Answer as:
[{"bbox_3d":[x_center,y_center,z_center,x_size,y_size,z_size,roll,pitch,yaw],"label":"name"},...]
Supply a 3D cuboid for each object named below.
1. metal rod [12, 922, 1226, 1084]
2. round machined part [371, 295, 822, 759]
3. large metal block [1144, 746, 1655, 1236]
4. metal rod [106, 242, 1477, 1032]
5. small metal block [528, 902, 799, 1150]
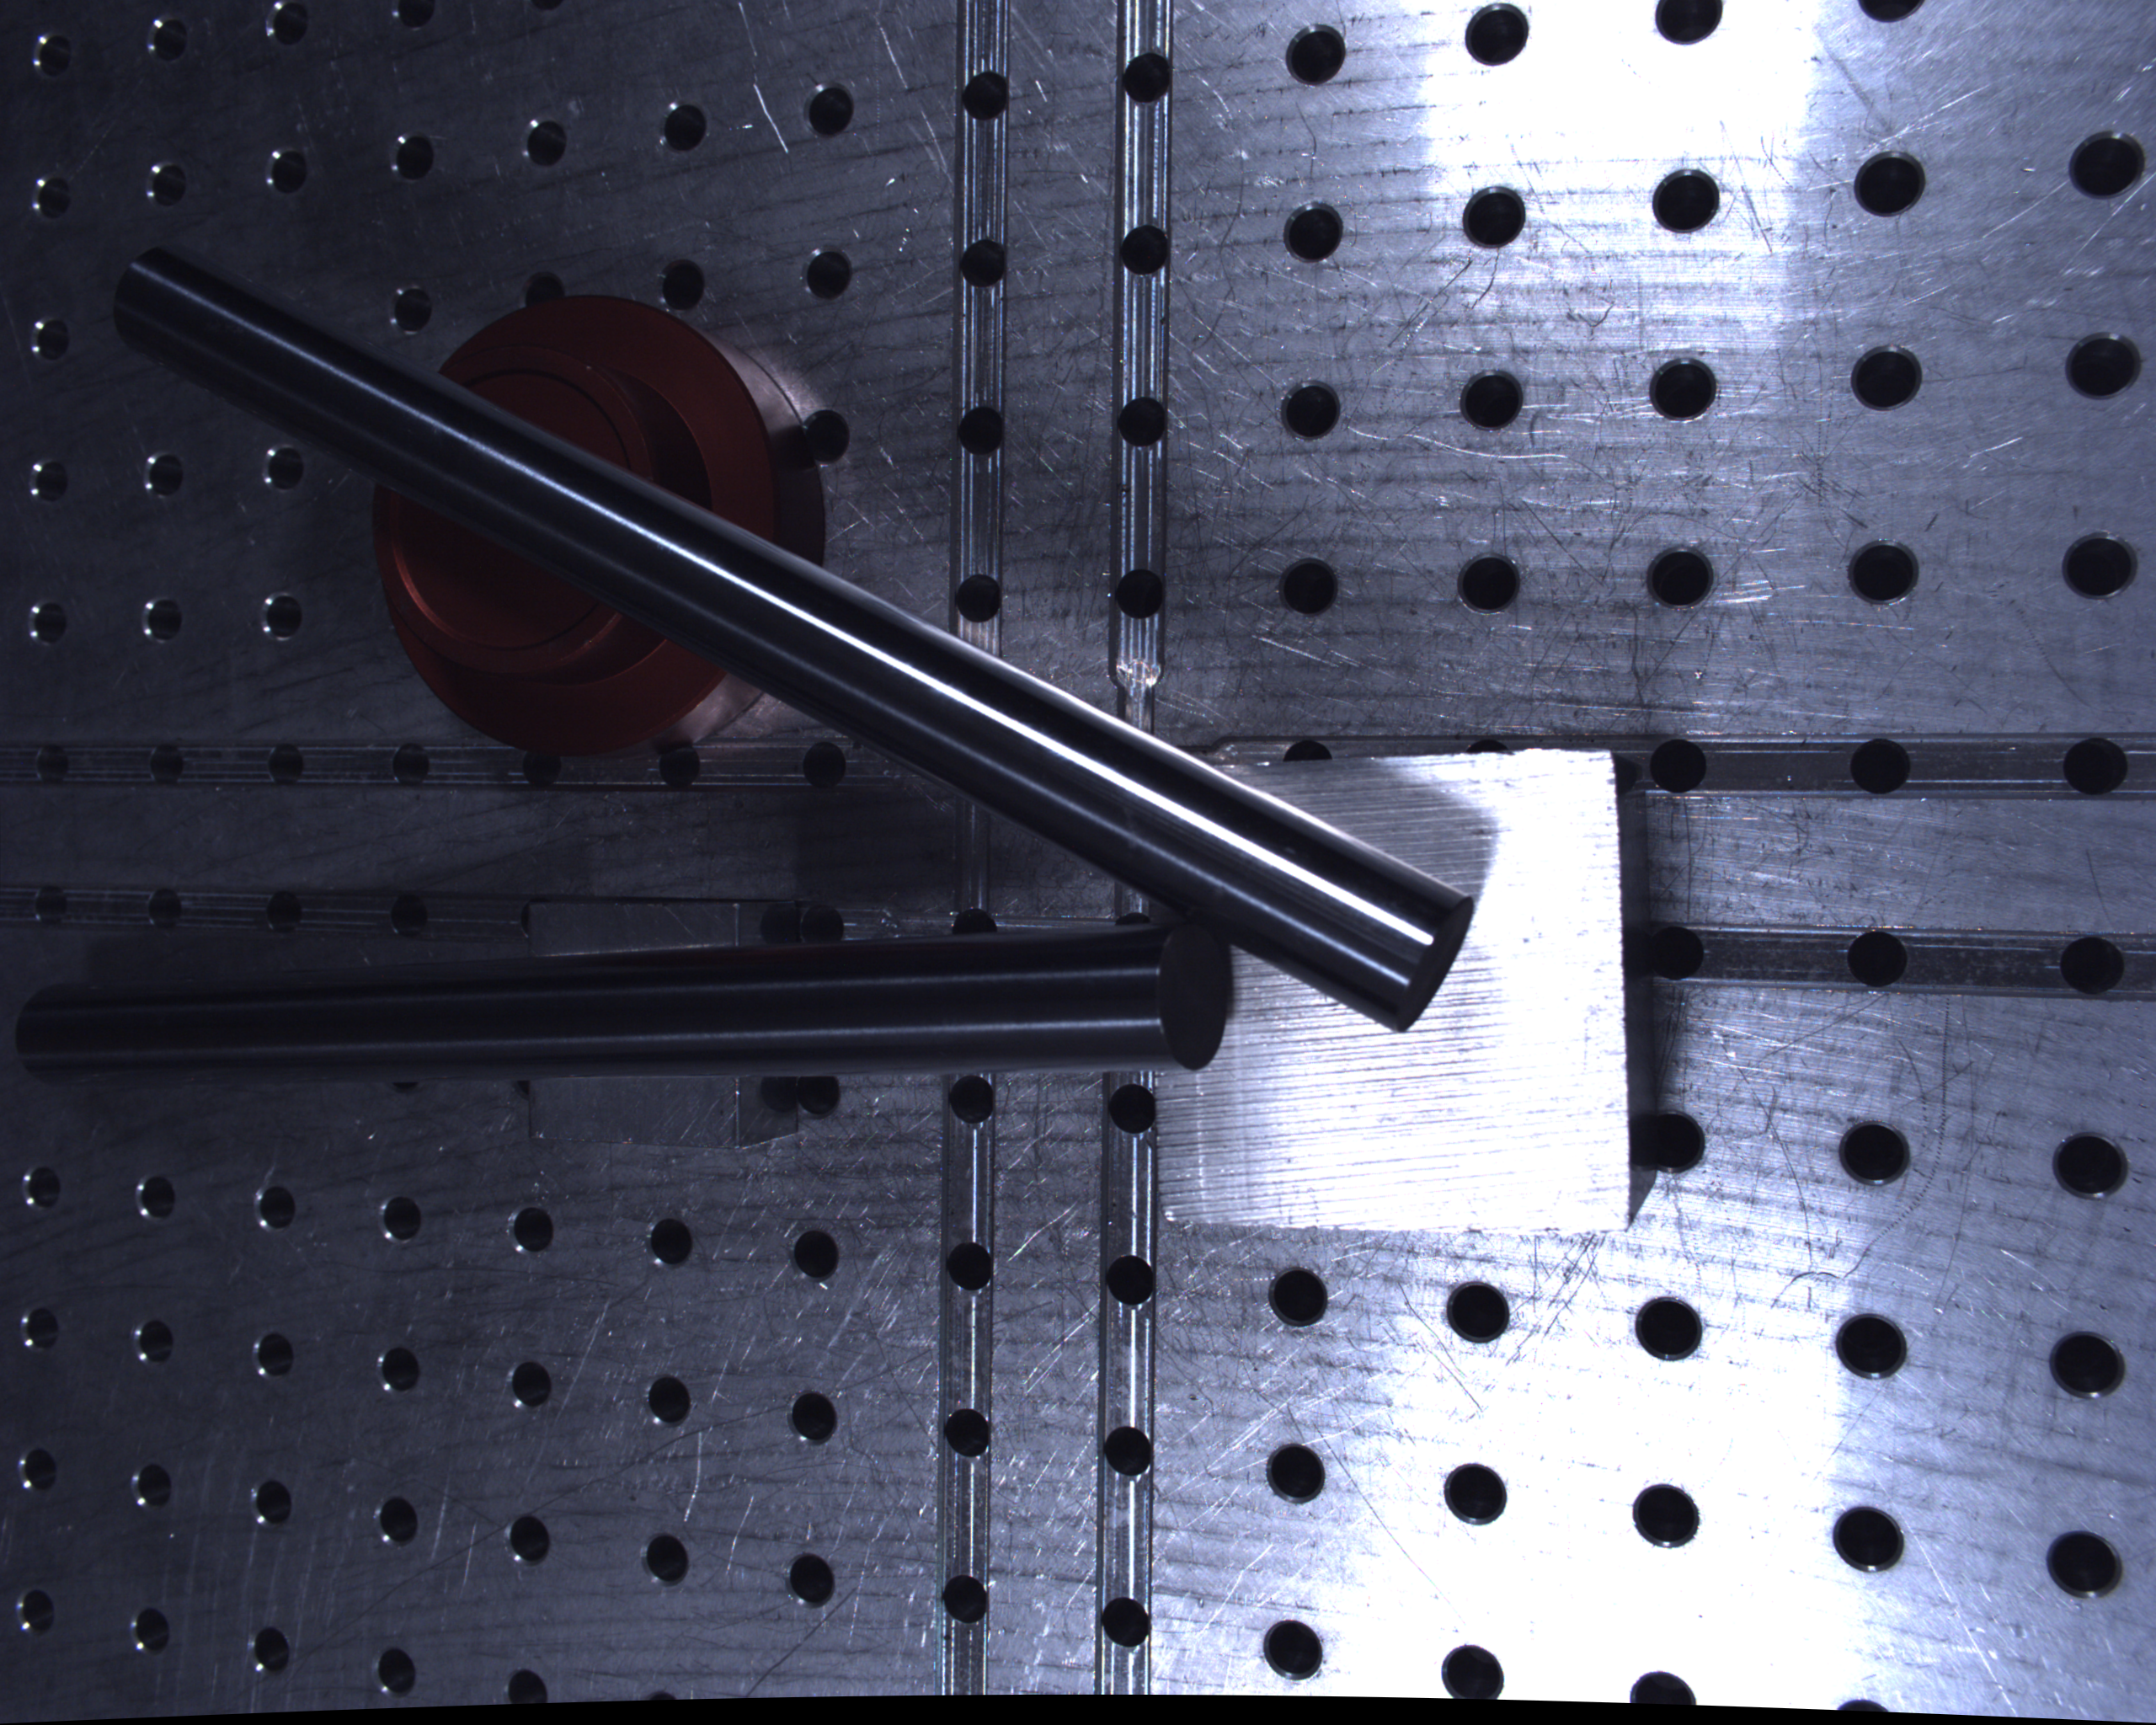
[{"bbox_3d":[-0.111,0.031,0.421,0.300,0.025,0.025,-4,89,30],"label":"metal rod"},{"bbox_3d":[-0.107,-0.071,0.440,0.098,0.042,0.097,0,90,19],"label":"round machined part"},{"bbox_3d":[0.059,0.022,0.375,0.080,0.050,0.079,-2,89,19],"label":"large metal block"},{"bbox_3d":[-0.067,-0.051,0.384,0.301,0.025,0.025,28,99,20],"label":"metal rod"},{"bbox_3d":[-0.088,0.033,0.443,0.050,0.025,0.050,0,90,19],"label":"small metal block"}]
